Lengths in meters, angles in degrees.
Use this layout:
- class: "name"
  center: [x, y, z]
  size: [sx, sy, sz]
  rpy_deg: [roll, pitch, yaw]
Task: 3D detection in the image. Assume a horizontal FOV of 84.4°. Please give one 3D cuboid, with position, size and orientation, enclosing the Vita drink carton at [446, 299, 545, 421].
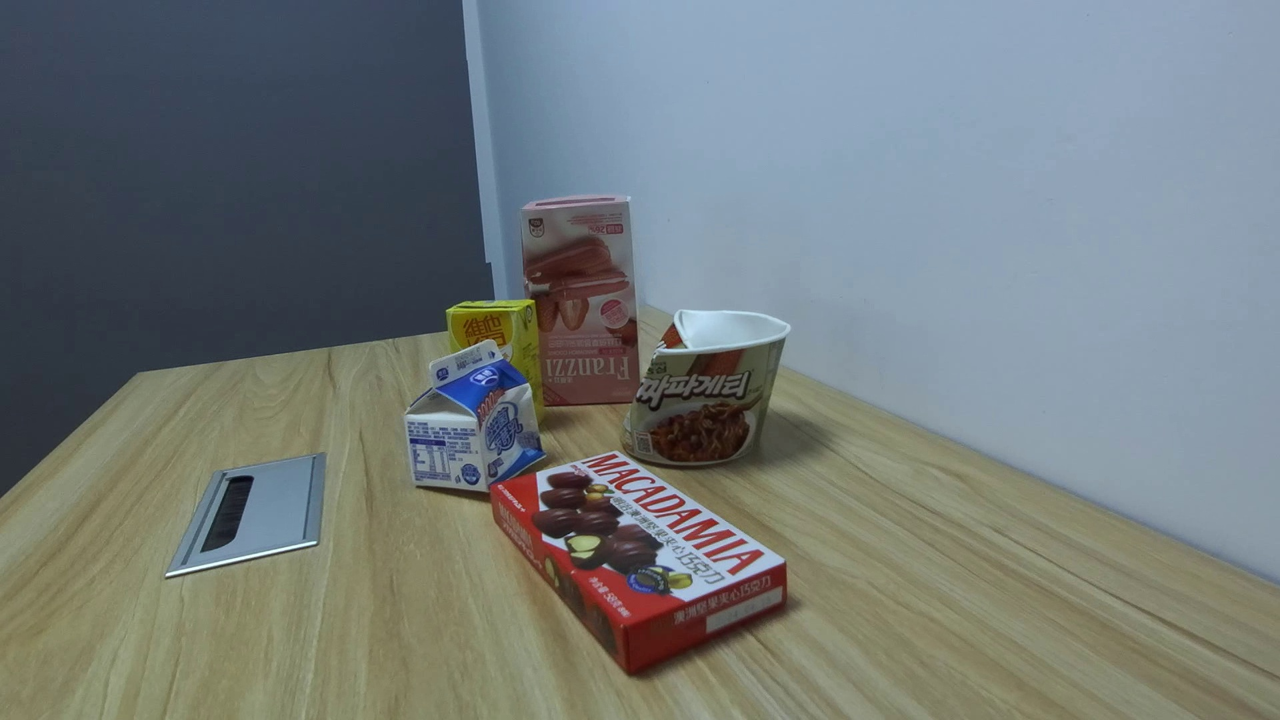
- class: "Vita drink carton"
  center: [-0.121, 0.006, 0.603]
  size: [0.066, 0.109, 0.043]
  rpy_deg: [1, 16, 12]

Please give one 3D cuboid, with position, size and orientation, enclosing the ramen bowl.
- class: "ramen bowl"
  center: [0.045, 0.020, 0.540]
  size: [0.137, 0.098, 0.137]
  rpy_deg: [-3, 19, 1]

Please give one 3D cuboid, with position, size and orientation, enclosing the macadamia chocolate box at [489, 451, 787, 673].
- class: "macadamia chocolate box"
  center: [-0.010, 0.101, 0.401]
  size: [0.096, 0.027, 0.177]
  rpy_deg: [-12, 18, -28]

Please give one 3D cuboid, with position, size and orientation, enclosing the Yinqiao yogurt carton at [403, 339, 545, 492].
- class: "Yinqiao yogurt carton"
  center: [-0.120, 0.039, 0.515]
  size: [0.071, 0.094, 0.077]
  rpy_deg: [0, 15, 30]

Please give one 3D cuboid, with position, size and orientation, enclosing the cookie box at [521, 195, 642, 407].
- class: "cookie box"
  center: [-0.053, -0.053, 0.647]
  size: [0.105, 0.187, 0.049]
  rpy_deg: [-2, 17, 4]
